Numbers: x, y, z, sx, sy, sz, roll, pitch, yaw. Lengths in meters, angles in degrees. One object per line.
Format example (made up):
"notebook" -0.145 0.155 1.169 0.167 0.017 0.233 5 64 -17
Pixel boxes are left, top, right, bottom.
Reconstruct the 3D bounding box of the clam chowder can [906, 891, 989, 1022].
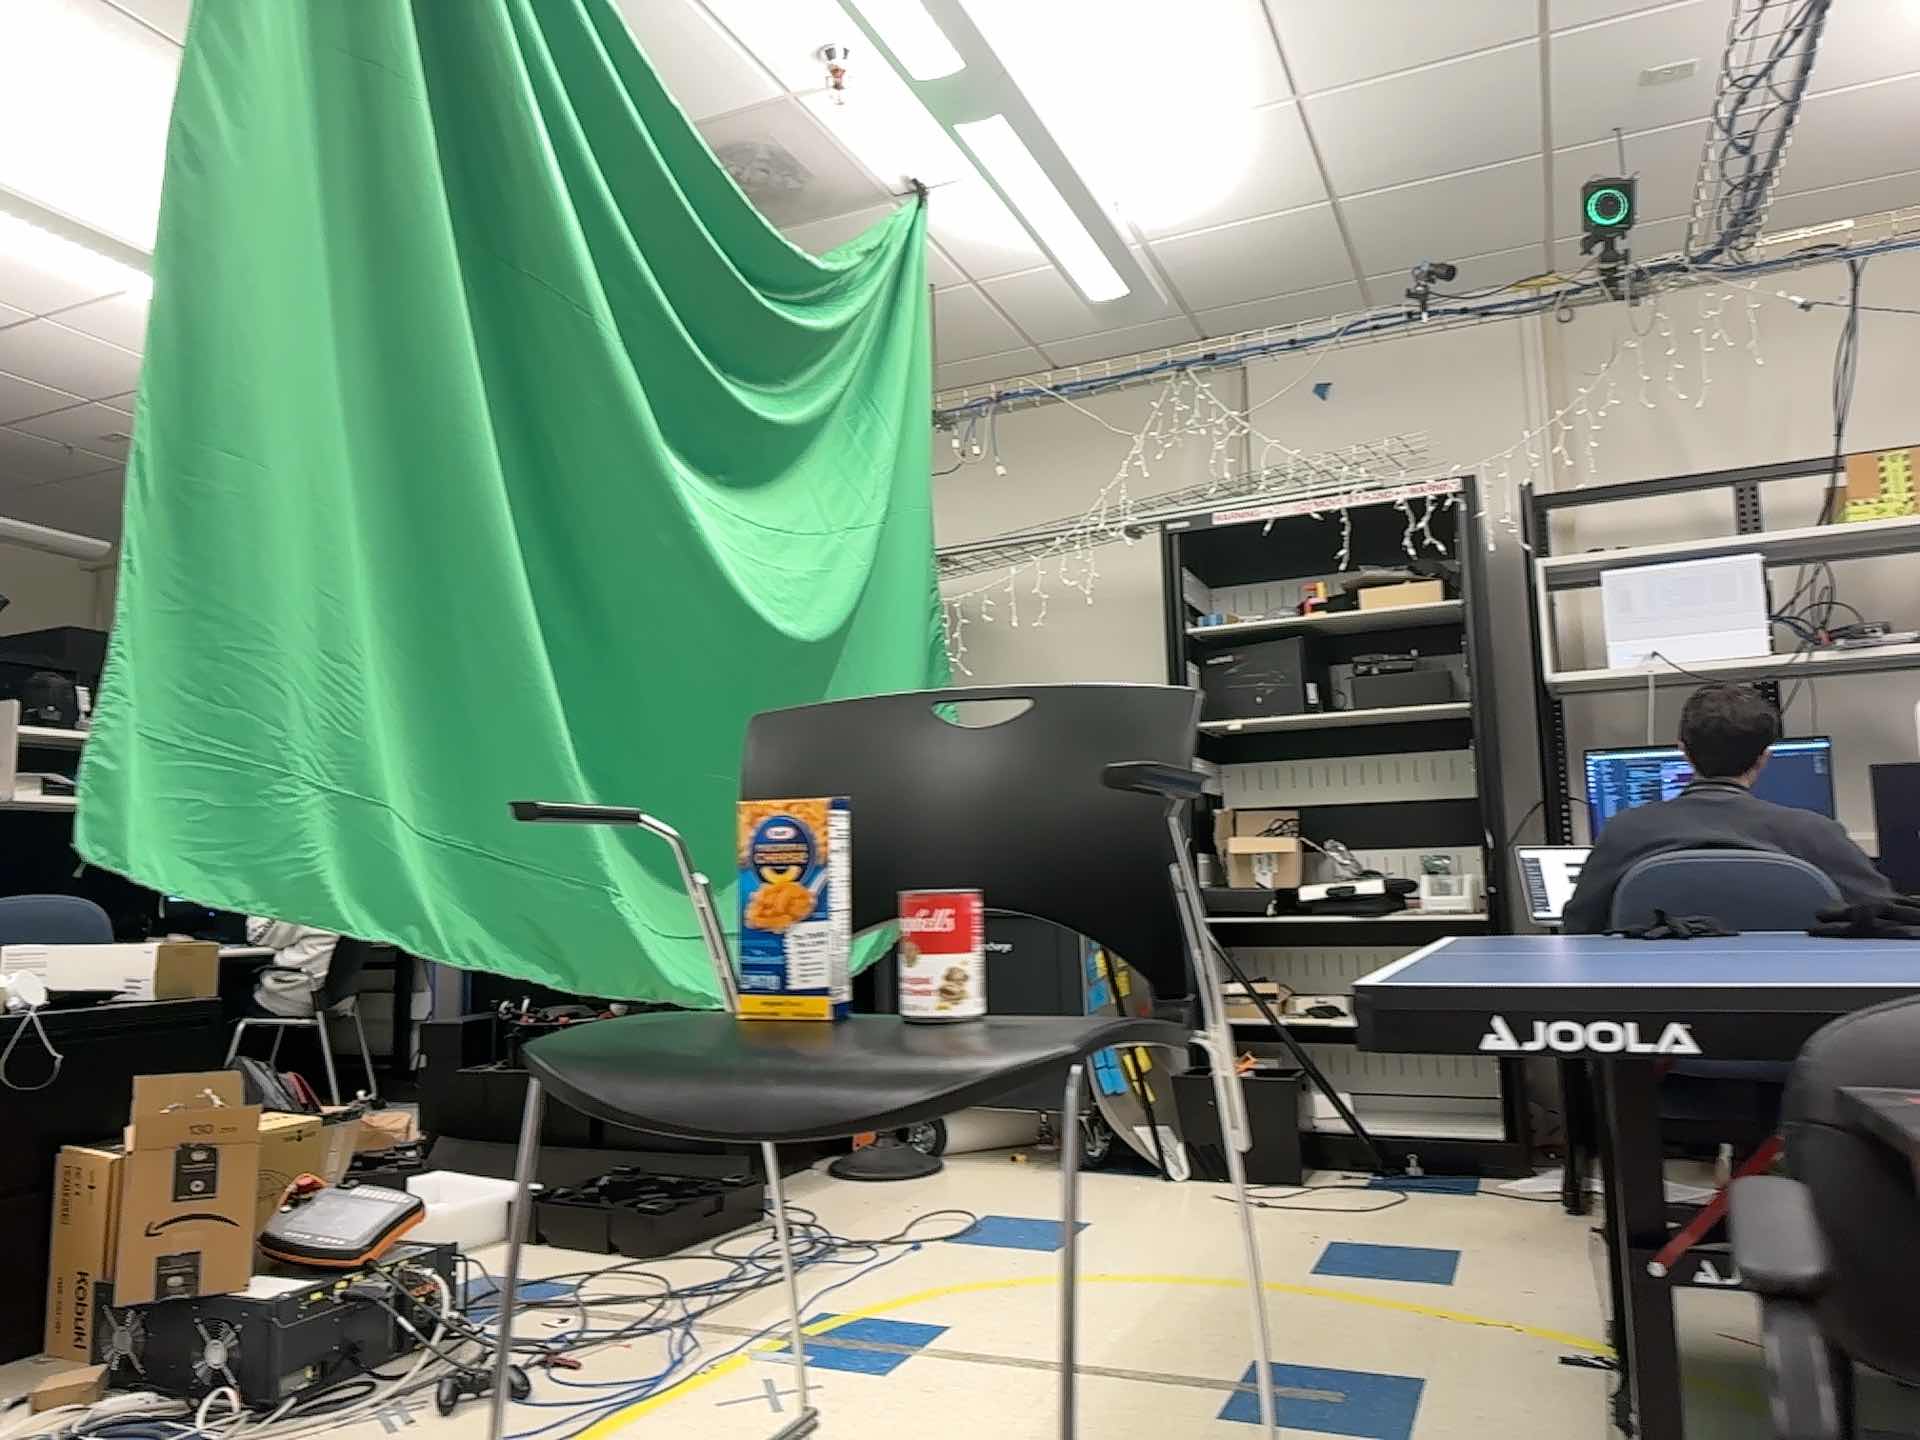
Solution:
"clam chowder can" -0.010 0.191 1.095 0.068 0.102 0.068 -1 -7 0

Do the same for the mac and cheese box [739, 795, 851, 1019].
"mac and cheese box" -0.141 0.157 1.140 0.088 0.181 0.035 -4 -6 29
